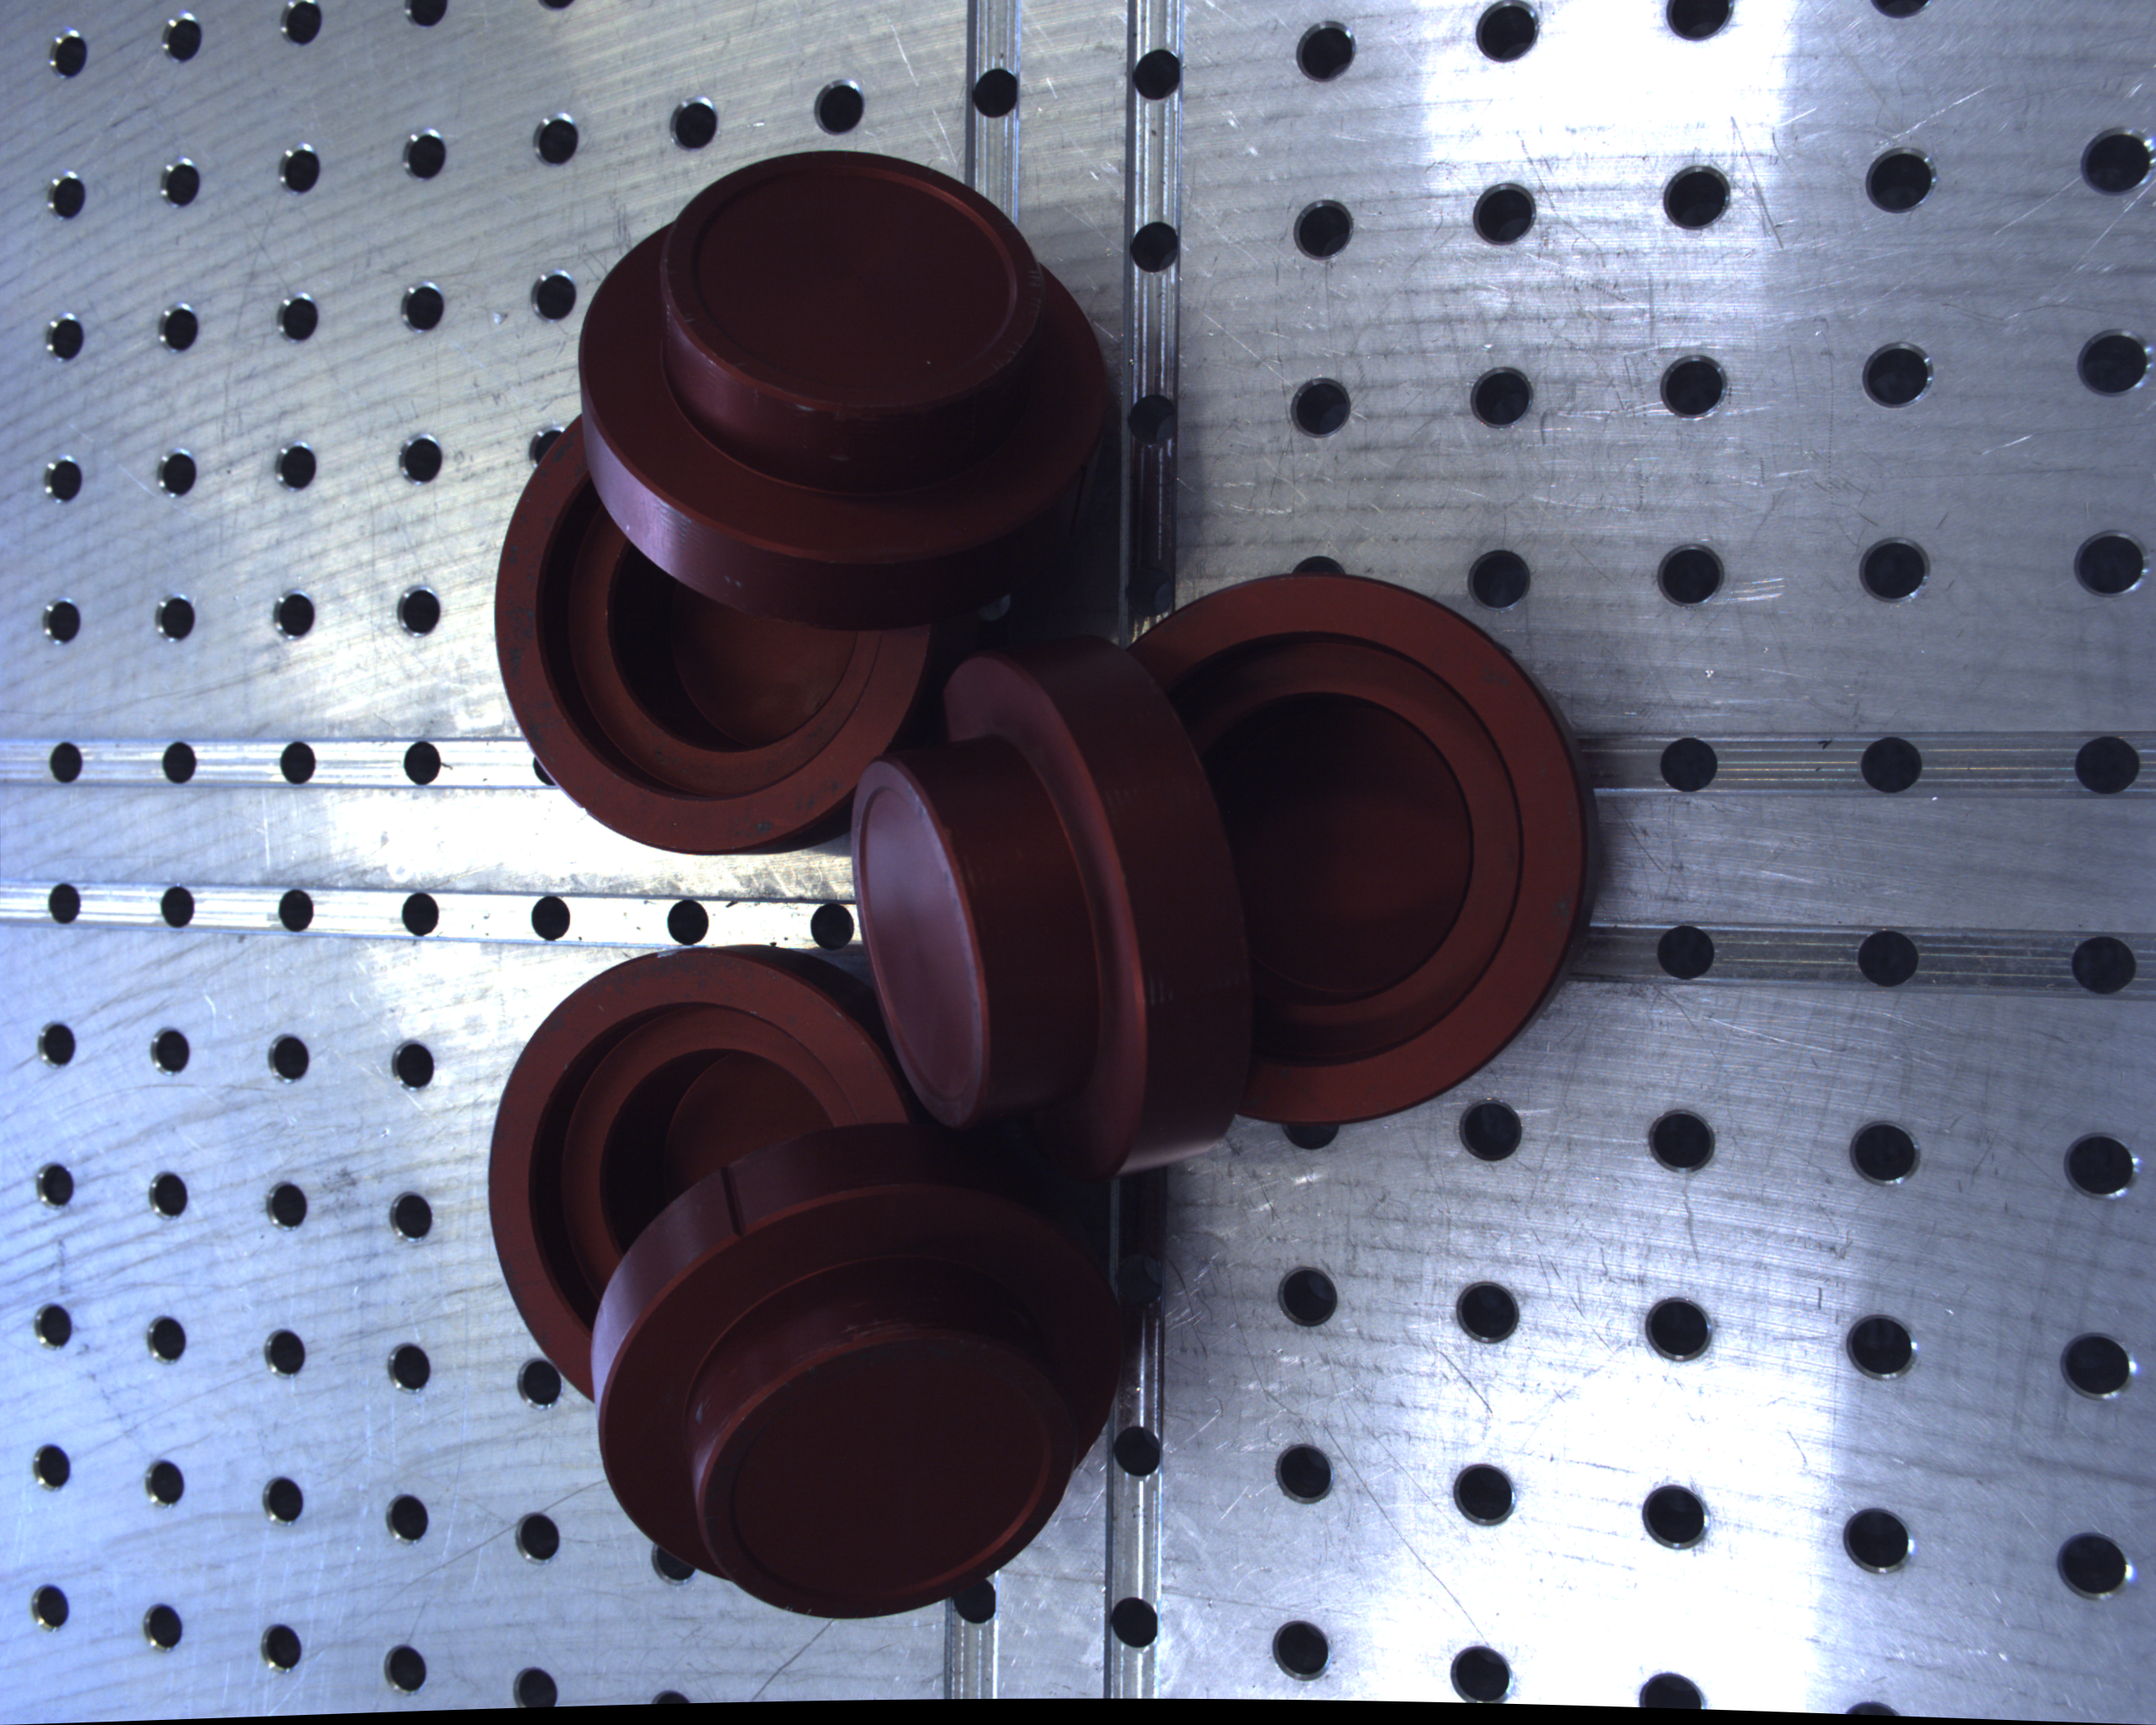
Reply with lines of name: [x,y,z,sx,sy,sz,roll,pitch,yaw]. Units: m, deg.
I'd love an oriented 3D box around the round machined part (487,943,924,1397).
round machined part: [-0.067,0.065,0.427,0.098,0.042,0.097,0,90,20]

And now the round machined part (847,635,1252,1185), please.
round machined part: [-0.011,0.010,0.376,0.042,0.098,0.098,-11,85,-22]

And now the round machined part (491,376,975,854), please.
round machined part: [-0.066,-0.050,0.426,0.098,0.042,0.097,0,90,20]

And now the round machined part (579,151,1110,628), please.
round machined part: [-0.042,-0.094,0.390,0.099,0.042,0.098,5,56,-8]

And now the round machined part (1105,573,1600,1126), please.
round machined part: [0.047,-0.003,0.387,0.098,0.042,0.097,0,90,20]

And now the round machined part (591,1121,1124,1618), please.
round machined part: [-0.038,0.100,0.387,0.099,0.042,0.097,-8,119,-14]
